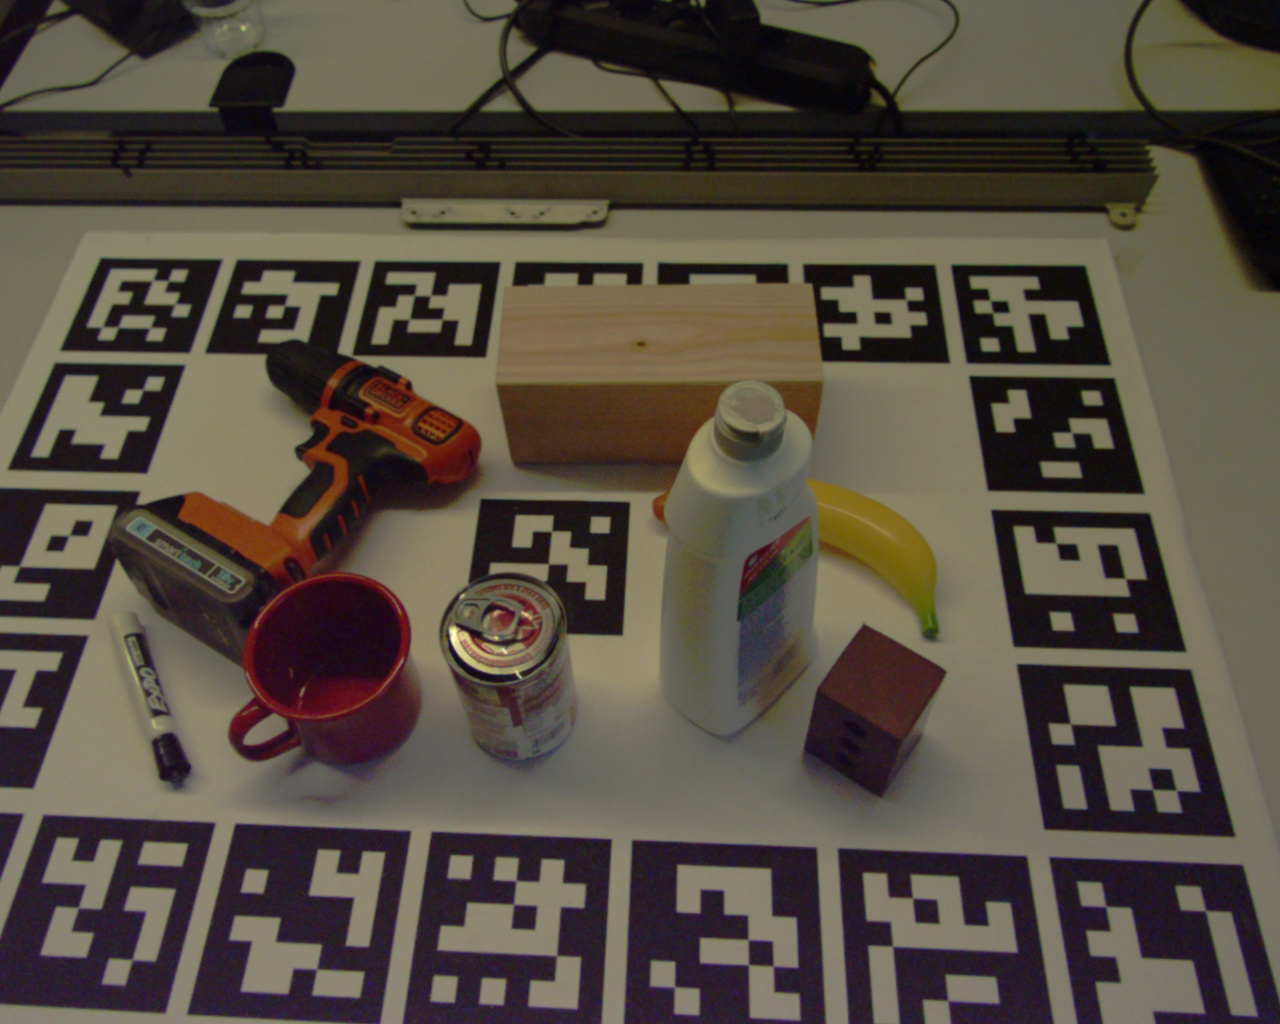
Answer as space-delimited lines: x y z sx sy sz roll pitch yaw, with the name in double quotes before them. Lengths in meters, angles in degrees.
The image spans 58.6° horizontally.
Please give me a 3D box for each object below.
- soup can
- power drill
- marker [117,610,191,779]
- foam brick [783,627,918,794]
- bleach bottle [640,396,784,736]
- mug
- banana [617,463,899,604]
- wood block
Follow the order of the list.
"soup can" -0.083 0.086 0.668 0.068 0.101 0.068 0 51 -1
"power drill" -0.232 -0.015 0.786 0.186 0.057 0.186 28 59 16
"marker" -0.306 0.114 0.718 0.019 0.019 0.122 -25 58 -12
"foam brick" 0.120 0.116 0.662 0.053 0.078 0.051 30 59 23
"bleach bottle" 0.043 0.026 0.622 0.068 0.250 0.102 27 59 19
"mug" -0.191 0.096 0.684 0.116 0.081 0.094 -40 65 -20
"banana" 0.083 0.001 0.763 0.198 0.038 0.074 16 71 10
"wood block" 0.006 -0.087 0.802 0.206 0.090 0.090 1 56 3
